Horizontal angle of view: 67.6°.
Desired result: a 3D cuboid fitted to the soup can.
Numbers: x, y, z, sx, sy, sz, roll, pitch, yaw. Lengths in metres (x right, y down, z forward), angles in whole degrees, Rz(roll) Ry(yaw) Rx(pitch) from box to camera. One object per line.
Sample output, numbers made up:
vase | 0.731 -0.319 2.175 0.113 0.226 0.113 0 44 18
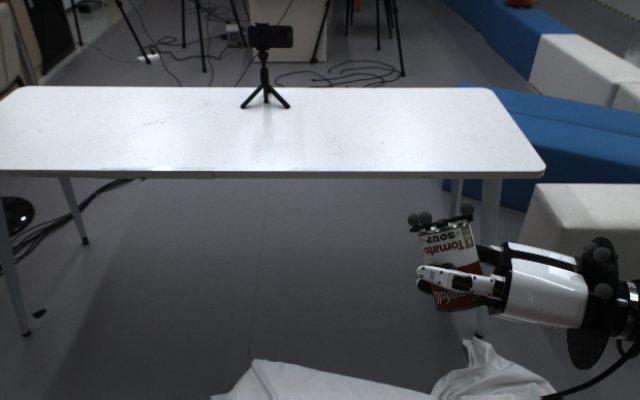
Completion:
soup can | 0.169 0.081 0.612 0.067 0.101 0.067 -14 -2 -1
